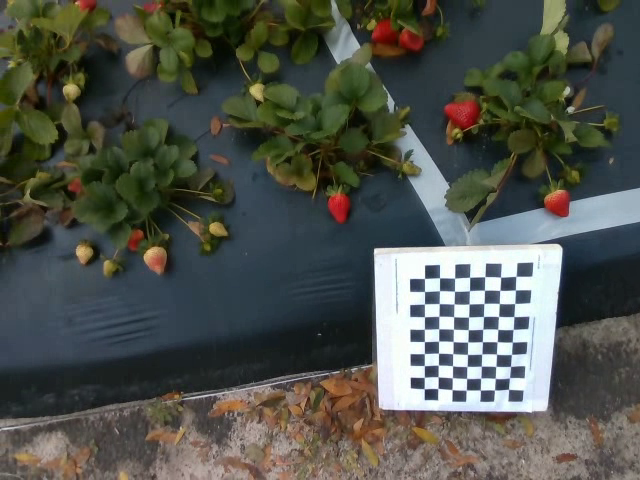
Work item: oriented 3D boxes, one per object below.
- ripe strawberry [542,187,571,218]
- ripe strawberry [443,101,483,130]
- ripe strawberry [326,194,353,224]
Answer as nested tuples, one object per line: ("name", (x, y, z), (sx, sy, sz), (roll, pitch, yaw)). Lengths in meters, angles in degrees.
("ripe strawberry", (0.338, -0.053, 0.773), (0.039, 0.047, 0.041), (-34, 6, 24))
("ripe strawberry", (0.207, -0.188, 0.795), (0.062, 0.043, 0.043), (19, 25, 5))
("ripe strawberry", (0.030, -0.048, 0.764), (0.036, 0.046, 0.040), (-12, -27, 19))
